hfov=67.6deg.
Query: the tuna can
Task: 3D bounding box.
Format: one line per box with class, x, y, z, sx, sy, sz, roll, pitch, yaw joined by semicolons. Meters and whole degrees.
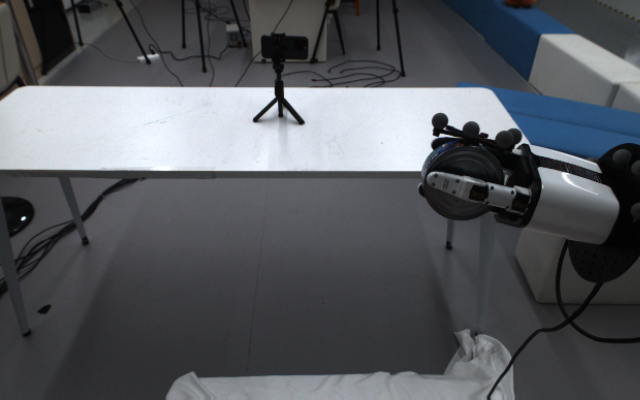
tuna can;0.158;-0.026;0.540;0.085;0.085;0.034;4;19;3
